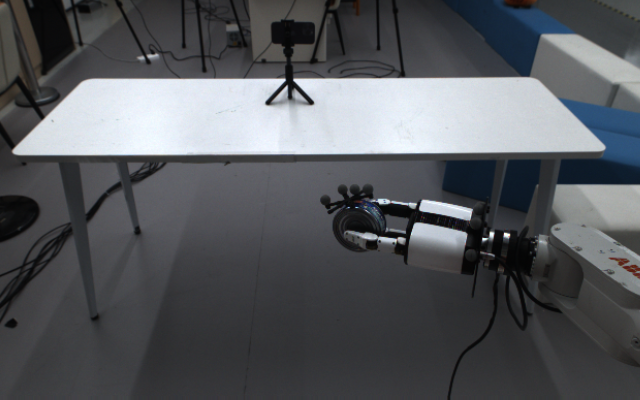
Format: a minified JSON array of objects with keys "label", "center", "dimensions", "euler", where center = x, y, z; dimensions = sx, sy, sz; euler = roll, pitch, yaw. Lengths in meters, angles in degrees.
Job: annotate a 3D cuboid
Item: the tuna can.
[{"label":"tuna can","center":[0.068,0.049,0.799],"dimensions":[0.085,0.085,0.034],"euler":[15,30,17]}]
